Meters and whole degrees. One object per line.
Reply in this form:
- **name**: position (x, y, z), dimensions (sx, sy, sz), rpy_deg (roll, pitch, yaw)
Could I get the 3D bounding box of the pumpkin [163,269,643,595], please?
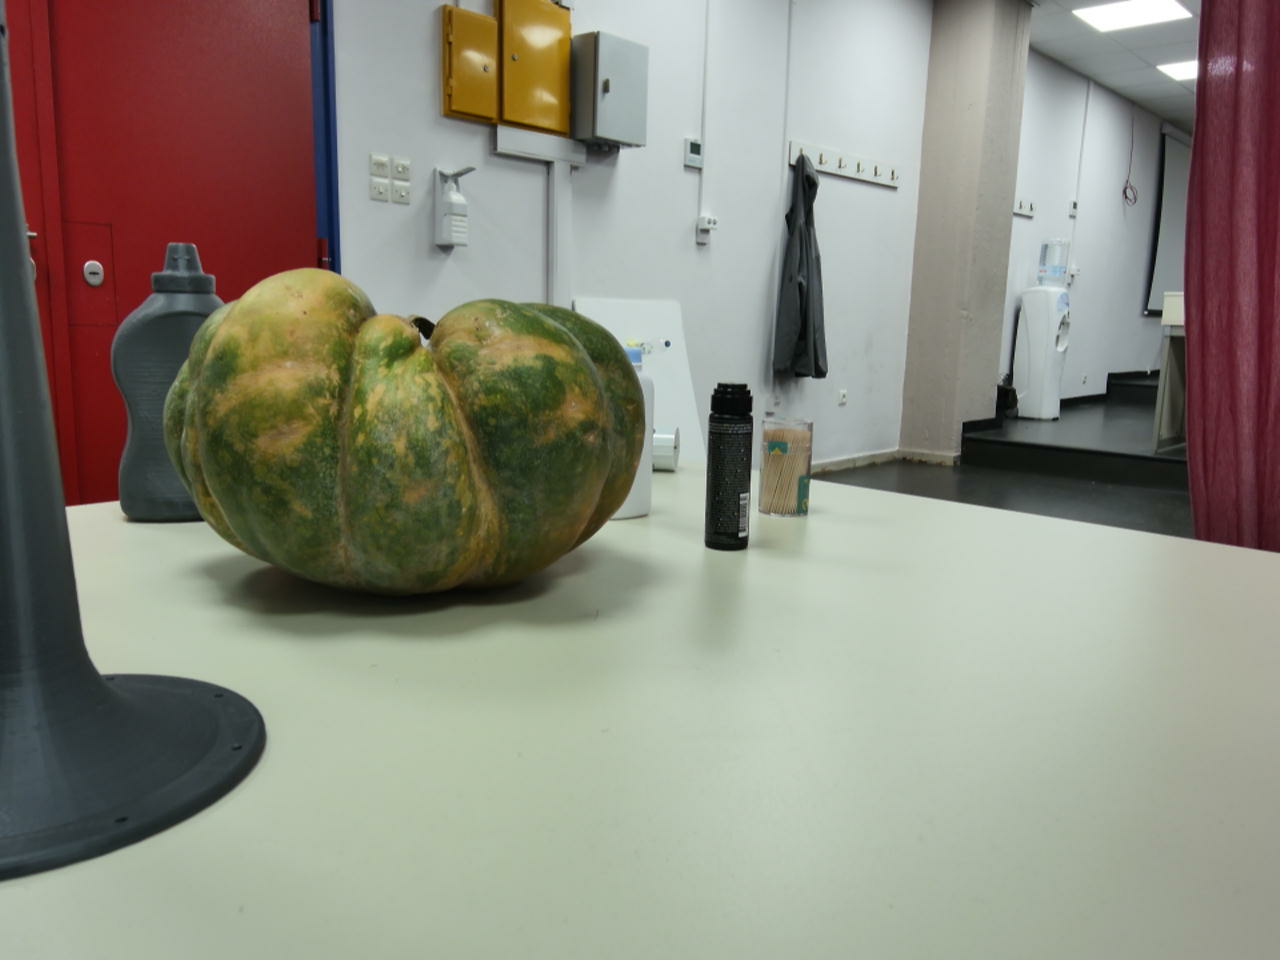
- **pumpkin**: position (-0.134, -0.028, 0.570), dimensions (0.270, 0.173, 0.237), rpy_deg (-2, 8, -11)
